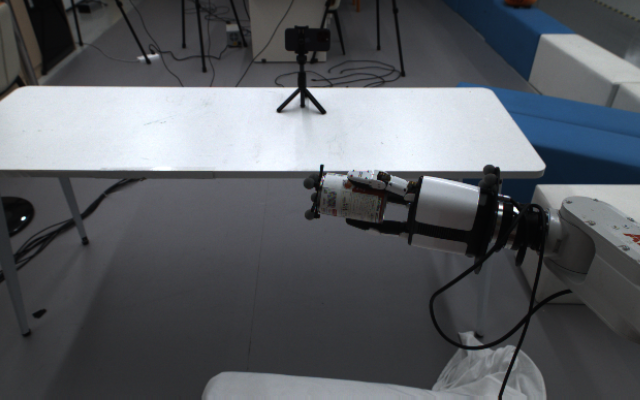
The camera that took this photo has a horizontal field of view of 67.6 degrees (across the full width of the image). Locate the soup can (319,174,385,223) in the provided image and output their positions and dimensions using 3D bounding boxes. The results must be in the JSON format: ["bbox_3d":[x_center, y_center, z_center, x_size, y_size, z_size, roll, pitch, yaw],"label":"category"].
[{"bbox_3d":[0.054,-0.003,0.750,0.101,0.067,0.067,9,35,9],"label":"soup can"}]
